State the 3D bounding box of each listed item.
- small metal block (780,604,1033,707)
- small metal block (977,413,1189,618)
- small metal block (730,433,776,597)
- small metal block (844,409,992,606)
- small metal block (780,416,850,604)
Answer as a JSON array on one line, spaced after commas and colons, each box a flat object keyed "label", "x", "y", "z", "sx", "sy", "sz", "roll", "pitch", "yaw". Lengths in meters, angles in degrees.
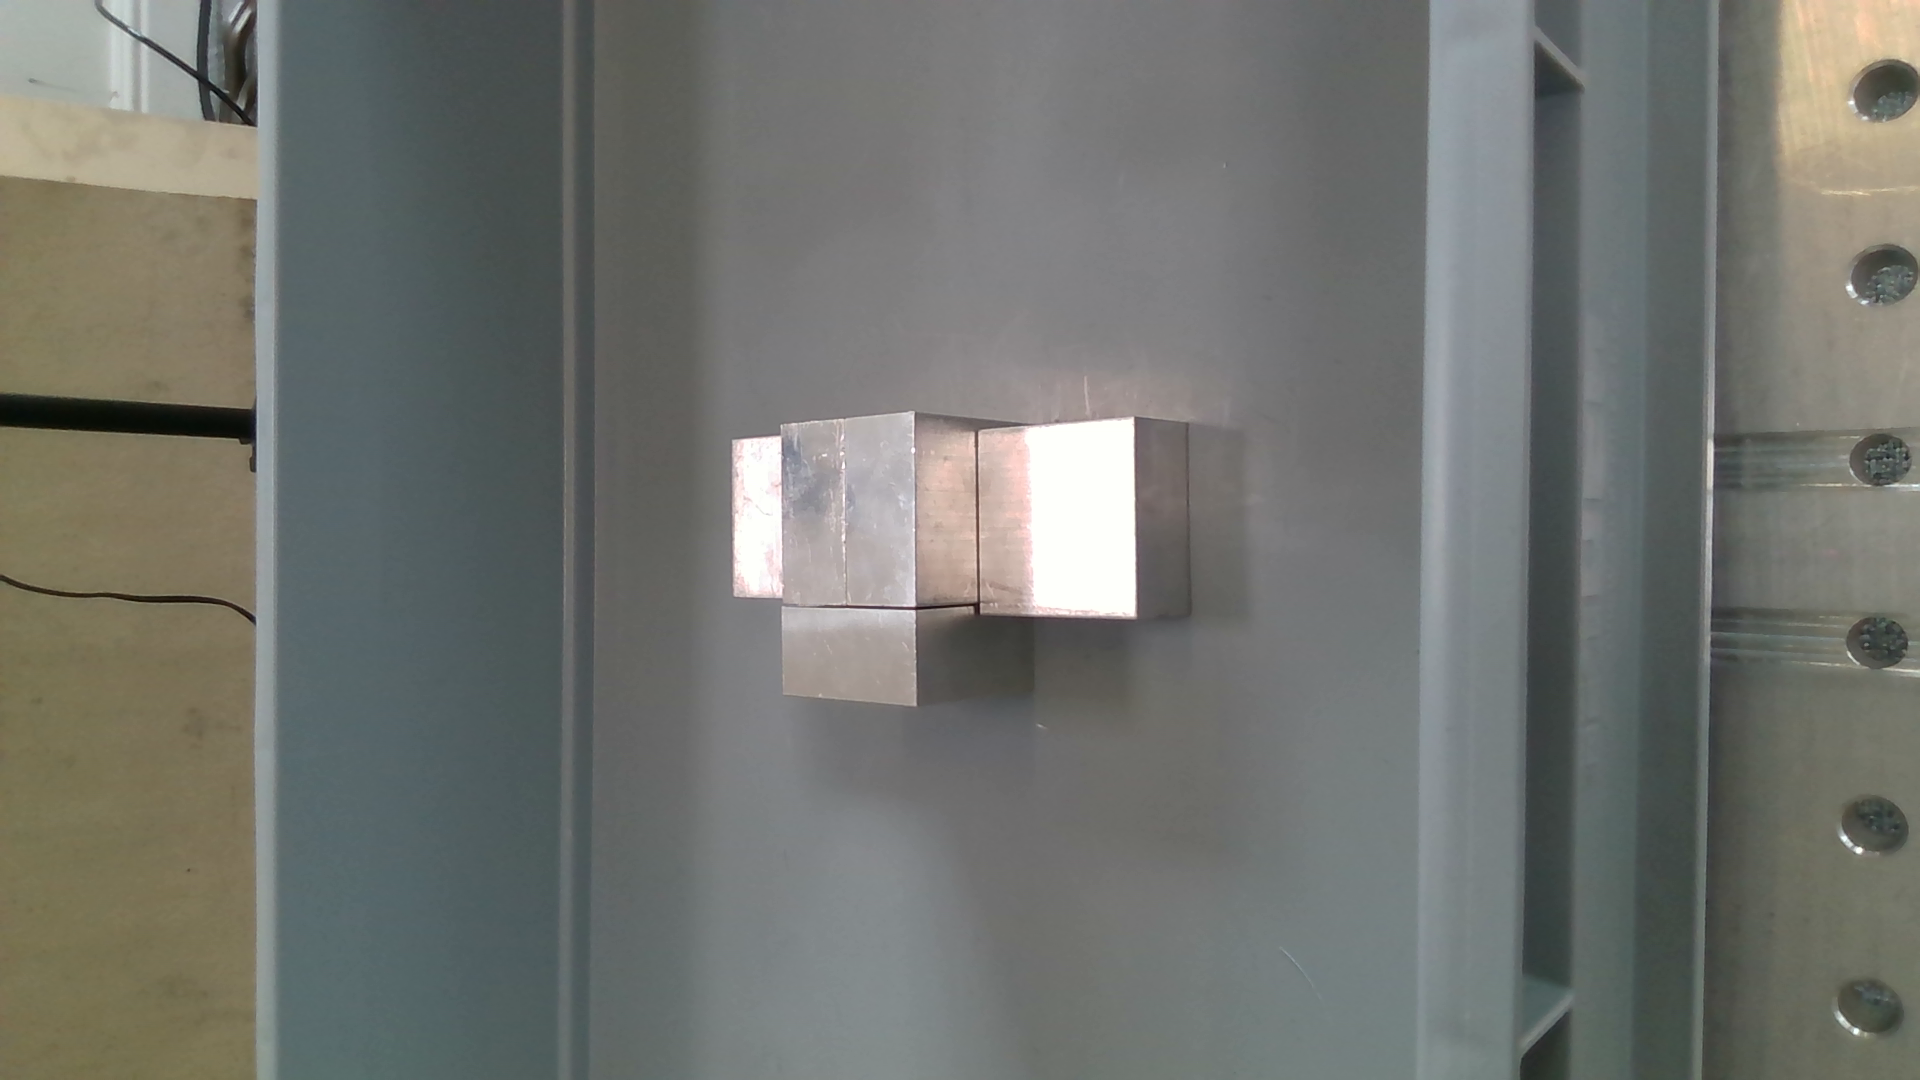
[{"label": "small metal block", "x": -0.015, "y": 0.030, "z": 0.385, "sx": 0.050, "sy": 0.050, "sz": 0.025, "roll": 0, "pitch": 90, "yaw": 40}, {"label": "small metal block", "x": 0.032, "y": -0.006, "z": 0.362, "sx": 0.050, "sy": 0.025, "sz": 0.050, "roll": 0, "pitch": 90, "yaw": 40}, {"label": "small metal block", "x": -0.045, "y": -0.008, "z": 0.427, "sx": 0.050, "sy": 0.025, "sz": 0.050, "roll": 0, "pitch": 90, "yaw": 40}, {"label": "small metal block", "x": -0.005, "y": -0.008, "z": 0.377, "sx": 0.025, "sy": 0.050, "sz": 0.050, "roll": 0, "pitch": 90, "yaw": 40}, {"label": "small metal block", "x": -0.024, "y": -0.008, "z": 0.393, "sx": 0.025, "sy": 0.050, "sz": 0.050, "roll": 0, "pitch": 90, "yaw": 40}]
